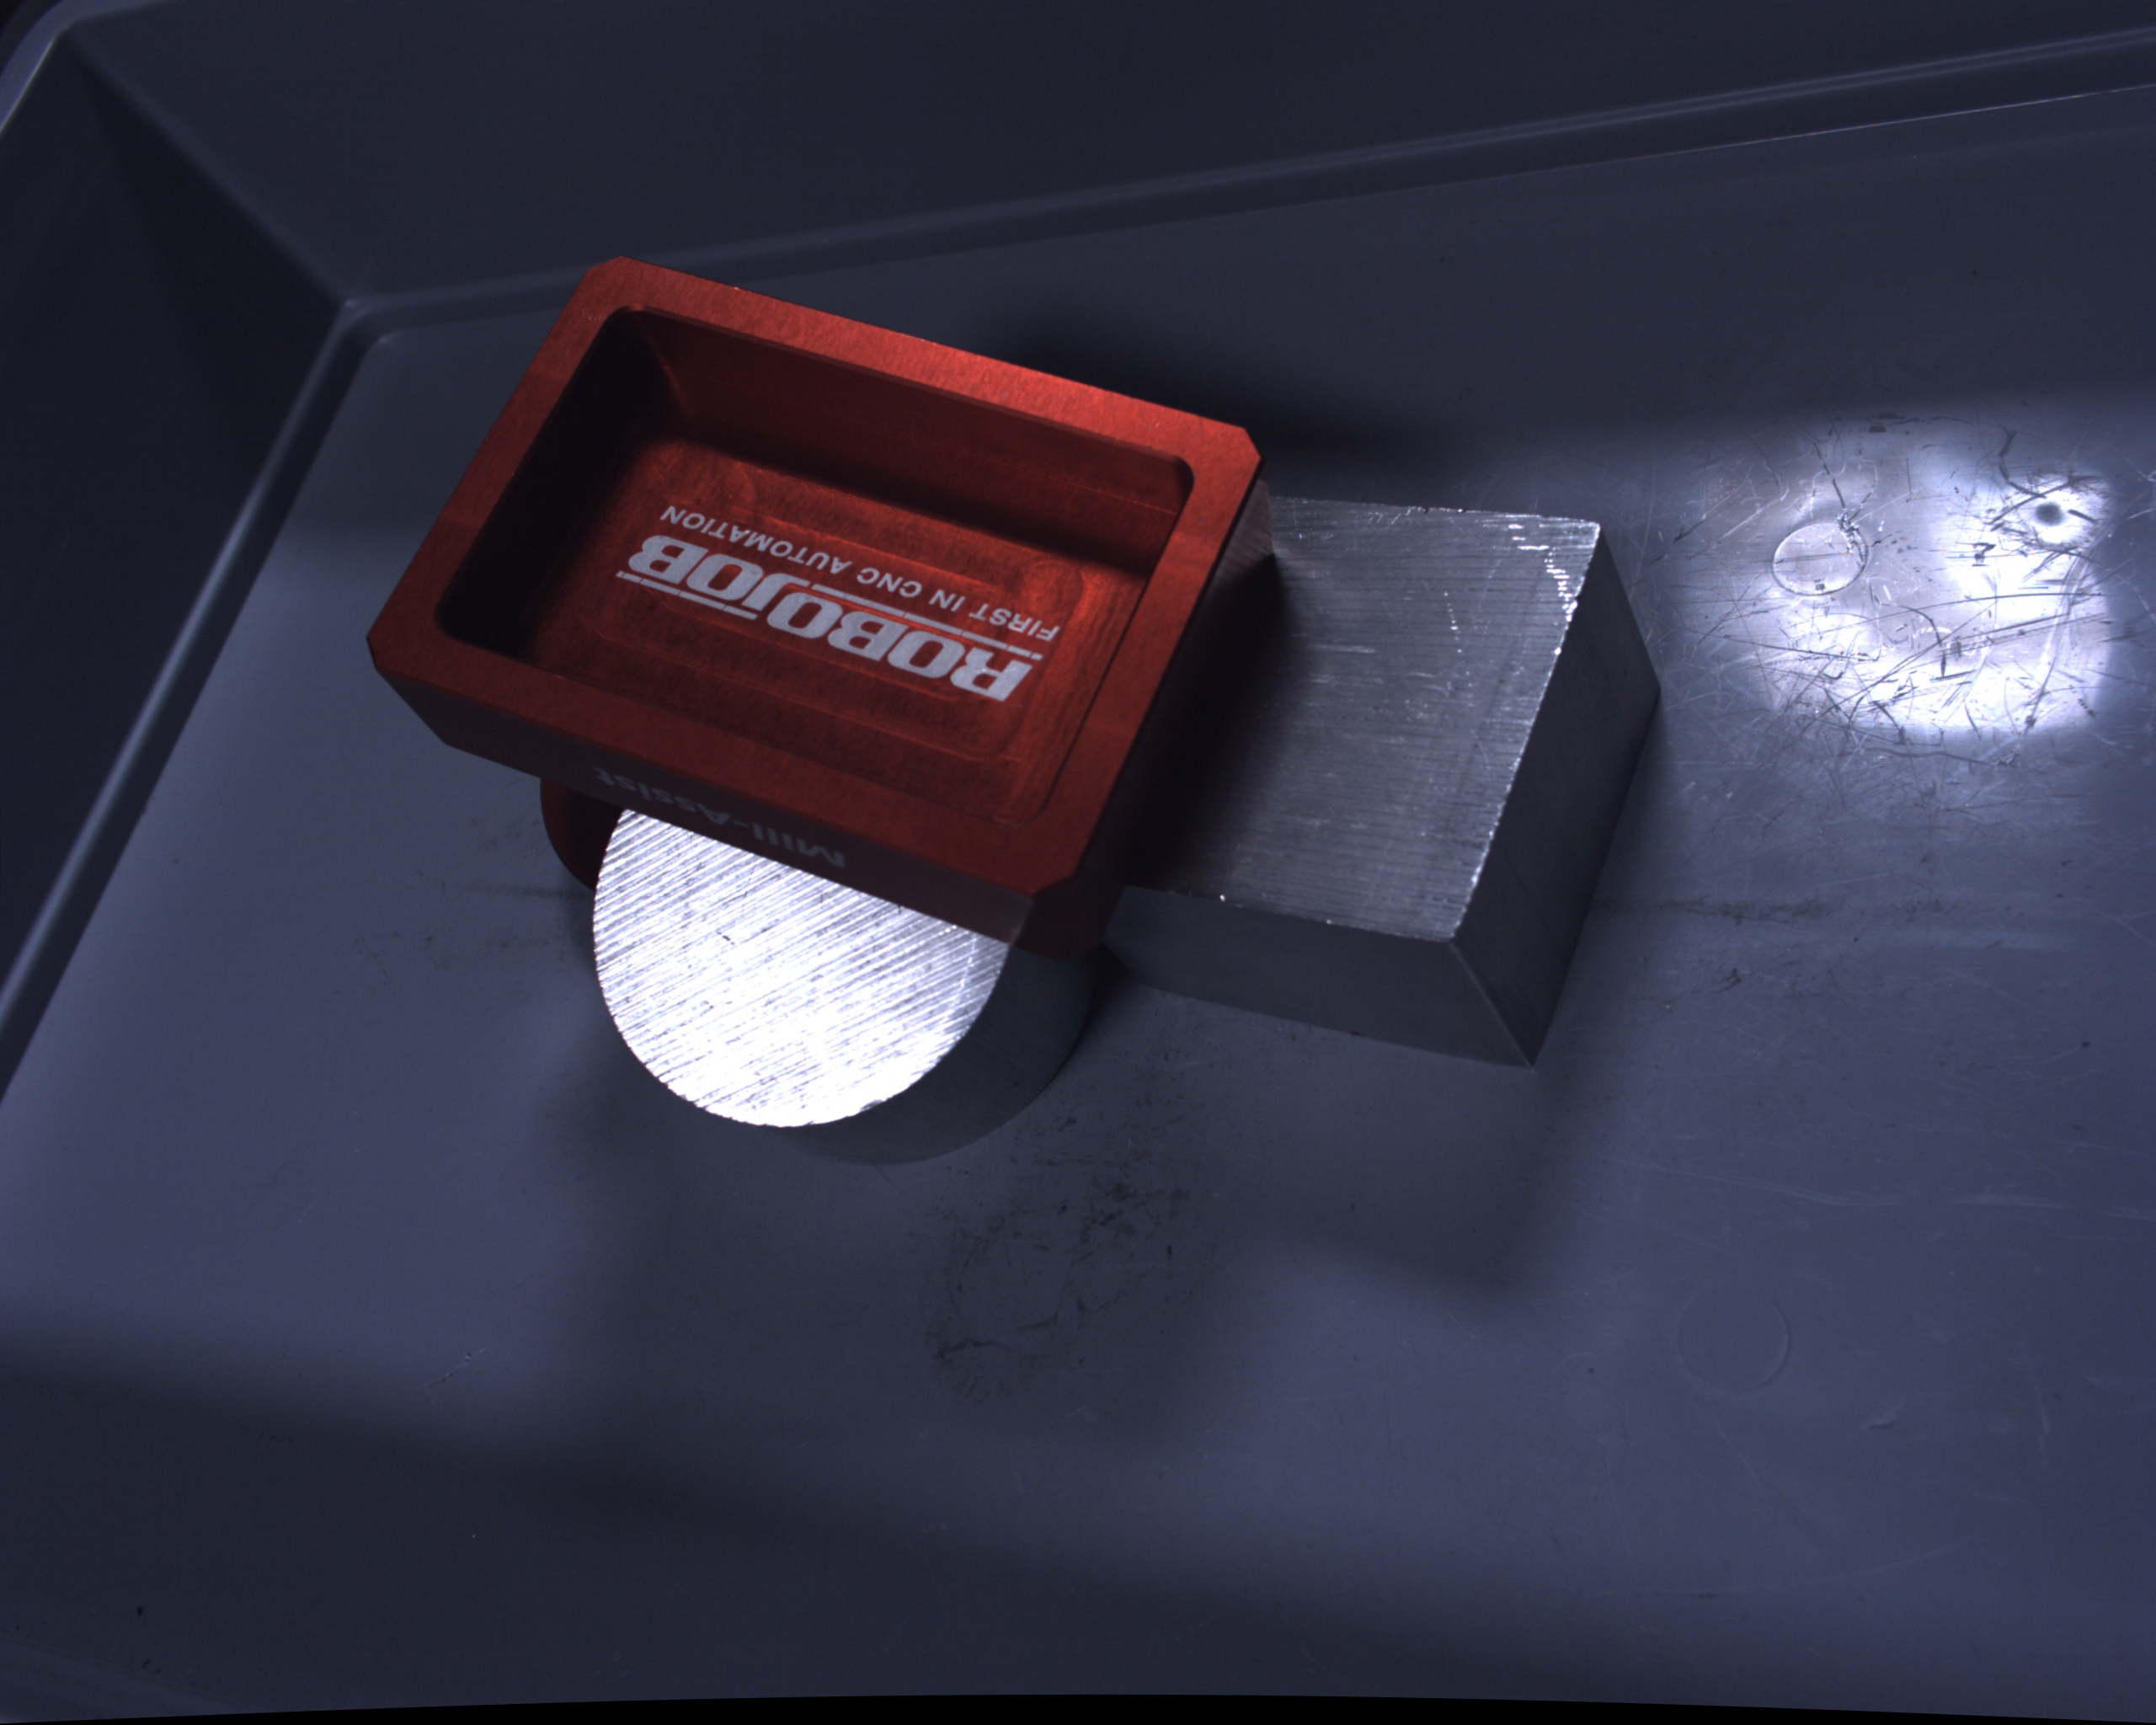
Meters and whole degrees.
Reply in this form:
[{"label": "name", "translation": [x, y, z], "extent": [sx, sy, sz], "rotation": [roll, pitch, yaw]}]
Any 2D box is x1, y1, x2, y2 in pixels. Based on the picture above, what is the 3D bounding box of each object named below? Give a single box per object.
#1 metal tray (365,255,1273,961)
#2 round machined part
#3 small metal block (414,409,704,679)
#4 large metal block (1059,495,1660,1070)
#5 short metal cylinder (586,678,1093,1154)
[{"label": "metal tray", "translation": [-0.043, -0.047, 0.360], "extent": [0.130, 0.030, 0.090], "rotation": [19, 70, 14]}, {"label": "round machined part", "translation": [-0.076, -0.034, 0.452], "extent": [0.098, 0.042, 0.098], "rotation": [-13, 56, 20]}, {"label": "small metal block", "translation": [-0.096, -0.055, 0.416], "extent": [0.025, 0.050, 0.050], "rotation": [13, 68, 33]}, {"label": "large metal block", "translation": [0.048, -0.017, 0.370], "extent": [0.080, 0.050, 0.080], "rotation": [10, 67, 32]}, {"label": "short metal cylinder", "translation": [-0.043, 0.012, 0.386], "extent": [0.080, 0.050, 0.080], "rotation": [-4, 74, 15]}]
